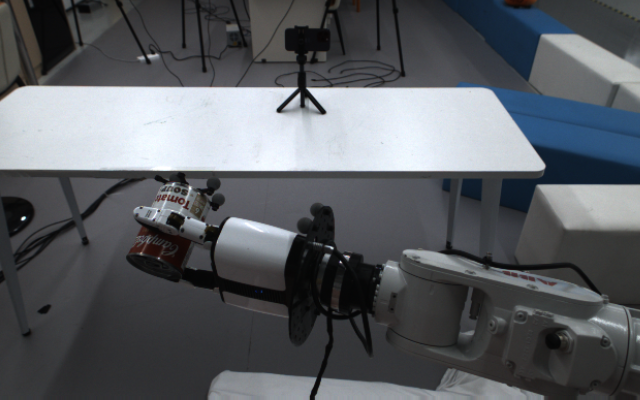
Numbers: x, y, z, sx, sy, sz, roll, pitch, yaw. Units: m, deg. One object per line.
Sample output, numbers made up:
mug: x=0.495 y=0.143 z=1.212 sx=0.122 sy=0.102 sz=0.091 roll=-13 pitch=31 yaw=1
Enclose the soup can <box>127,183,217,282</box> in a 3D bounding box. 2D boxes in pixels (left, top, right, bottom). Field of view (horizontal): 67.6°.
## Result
soup can: x=-0.182 y=0.039 z=0.593 sx=0.067 sy=0.067 sz=0.101 roll=9 pitch=60 yaw=10
